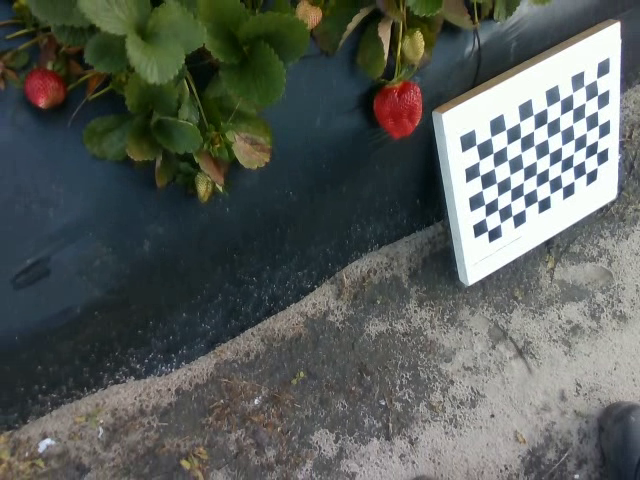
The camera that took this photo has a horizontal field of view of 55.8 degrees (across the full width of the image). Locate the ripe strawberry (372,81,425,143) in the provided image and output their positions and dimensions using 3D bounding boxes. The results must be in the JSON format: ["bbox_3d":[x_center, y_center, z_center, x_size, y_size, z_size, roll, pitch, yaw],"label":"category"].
[{"bbox_3d":[0.098,-0.160,0.740,0.067,0.075,0.039,-23,32,-14],"label":"ripe strawberry"}]
